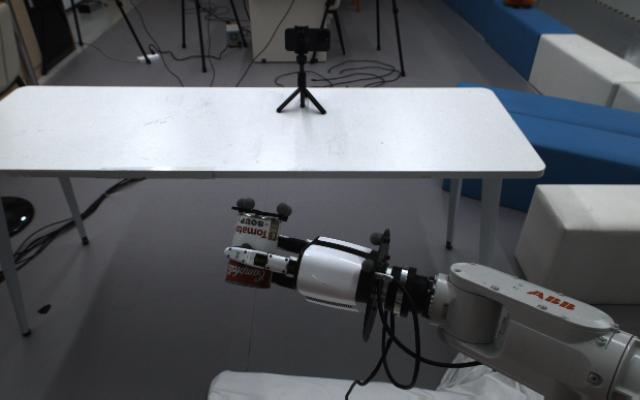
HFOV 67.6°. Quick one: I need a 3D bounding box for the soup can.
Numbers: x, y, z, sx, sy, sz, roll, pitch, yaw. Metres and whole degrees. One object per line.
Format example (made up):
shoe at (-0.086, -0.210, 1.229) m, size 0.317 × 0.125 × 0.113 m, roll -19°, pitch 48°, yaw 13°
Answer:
soup can at (-0.096, 0.075, 0.713) m, size 0.067 × 0.101 × 0.067 m, roll 9°, pitch -5°, yaw 1°
